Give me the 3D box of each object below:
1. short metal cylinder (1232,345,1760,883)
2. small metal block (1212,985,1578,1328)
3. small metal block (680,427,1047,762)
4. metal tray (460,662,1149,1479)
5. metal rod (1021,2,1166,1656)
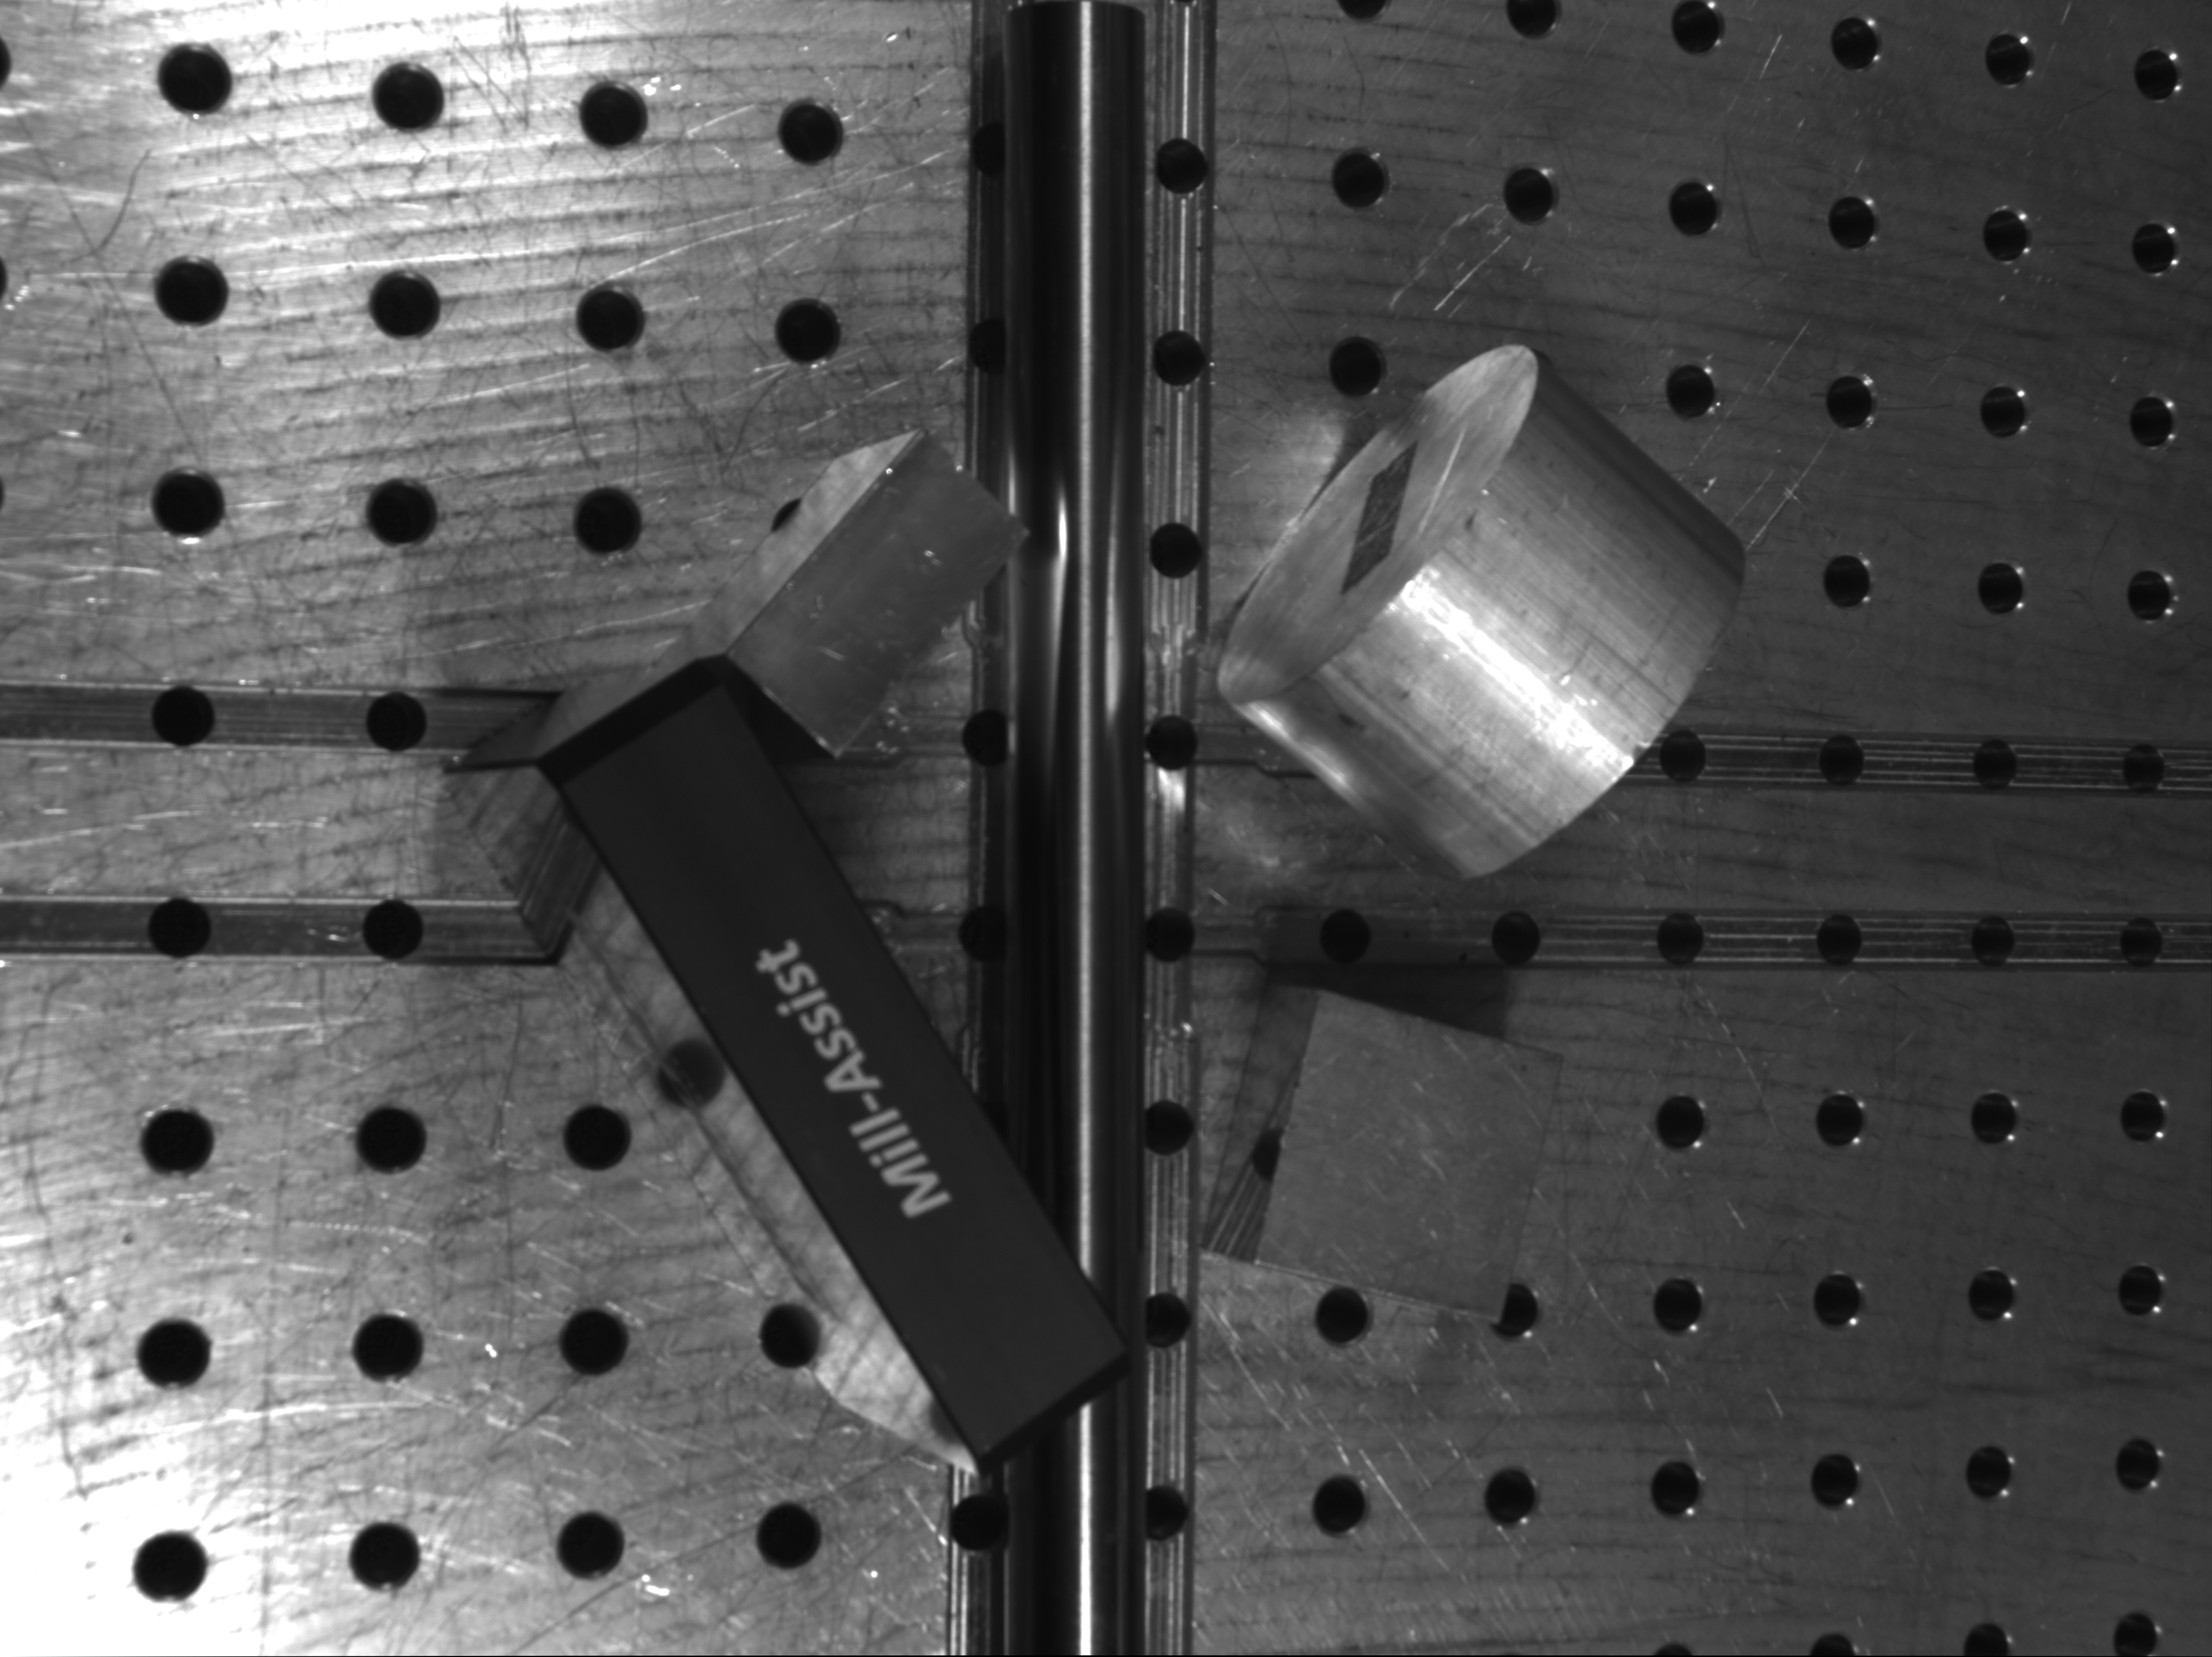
[{"bbox_3d":[0.068,-0.037,0.641,0.050,0.080,0.080,39,78,-15],"label":"short metal cylinder"},{"bbox_3d":[0.052,0.059,0.665,0.050,0.025,0.050,16,85,-19],"label":"small metal block"},{"bbox_3d":[-0.042,-0.038,0.616,0.025,0.050,0.050,43,77,-15],"label":"small metal block"},{"bbox_3d":[-0.051,0.038,0.592,0.030,0.090,0.130,-34,101,-17],"label":"metal tray"},{"bbox_3d":[-0.002,0.007,0.644,0.025,0.025,0.300,0,90,-20],"label":"metal rod"}]
